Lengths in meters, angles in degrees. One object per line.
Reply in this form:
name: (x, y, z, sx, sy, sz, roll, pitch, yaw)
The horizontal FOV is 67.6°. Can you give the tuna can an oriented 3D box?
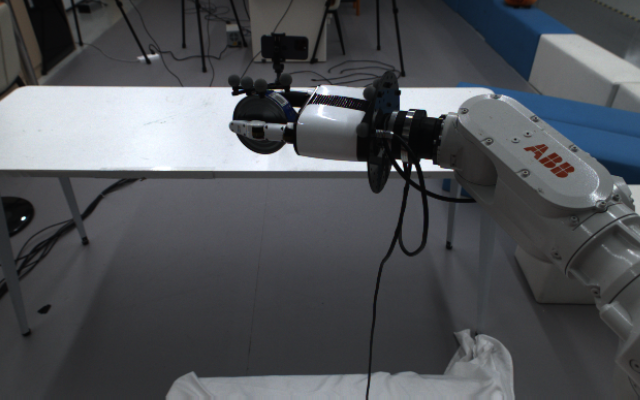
tuna can: (-0.077, -0.111, 0.682, 0.085, 0.085, 0.034, 14, 29, 17)
